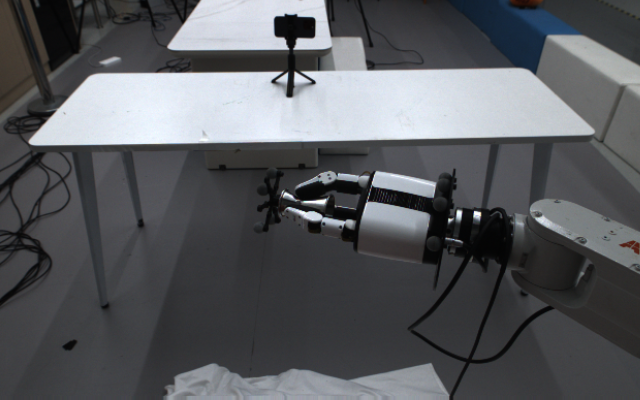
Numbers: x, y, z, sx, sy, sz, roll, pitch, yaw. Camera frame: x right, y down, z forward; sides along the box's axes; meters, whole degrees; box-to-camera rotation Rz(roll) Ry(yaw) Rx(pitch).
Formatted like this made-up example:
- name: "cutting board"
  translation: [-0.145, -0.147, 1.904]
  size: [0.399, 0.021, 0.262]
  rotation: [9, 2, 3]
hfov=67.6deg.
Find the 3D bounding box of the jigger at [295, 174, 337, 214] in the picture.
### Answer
- name: "jigger"
  translation: [-0.012, 0.006, 0.663]
  size: [0.071, 0.043, 0.043]
  rotation: [9, 35, 17]
